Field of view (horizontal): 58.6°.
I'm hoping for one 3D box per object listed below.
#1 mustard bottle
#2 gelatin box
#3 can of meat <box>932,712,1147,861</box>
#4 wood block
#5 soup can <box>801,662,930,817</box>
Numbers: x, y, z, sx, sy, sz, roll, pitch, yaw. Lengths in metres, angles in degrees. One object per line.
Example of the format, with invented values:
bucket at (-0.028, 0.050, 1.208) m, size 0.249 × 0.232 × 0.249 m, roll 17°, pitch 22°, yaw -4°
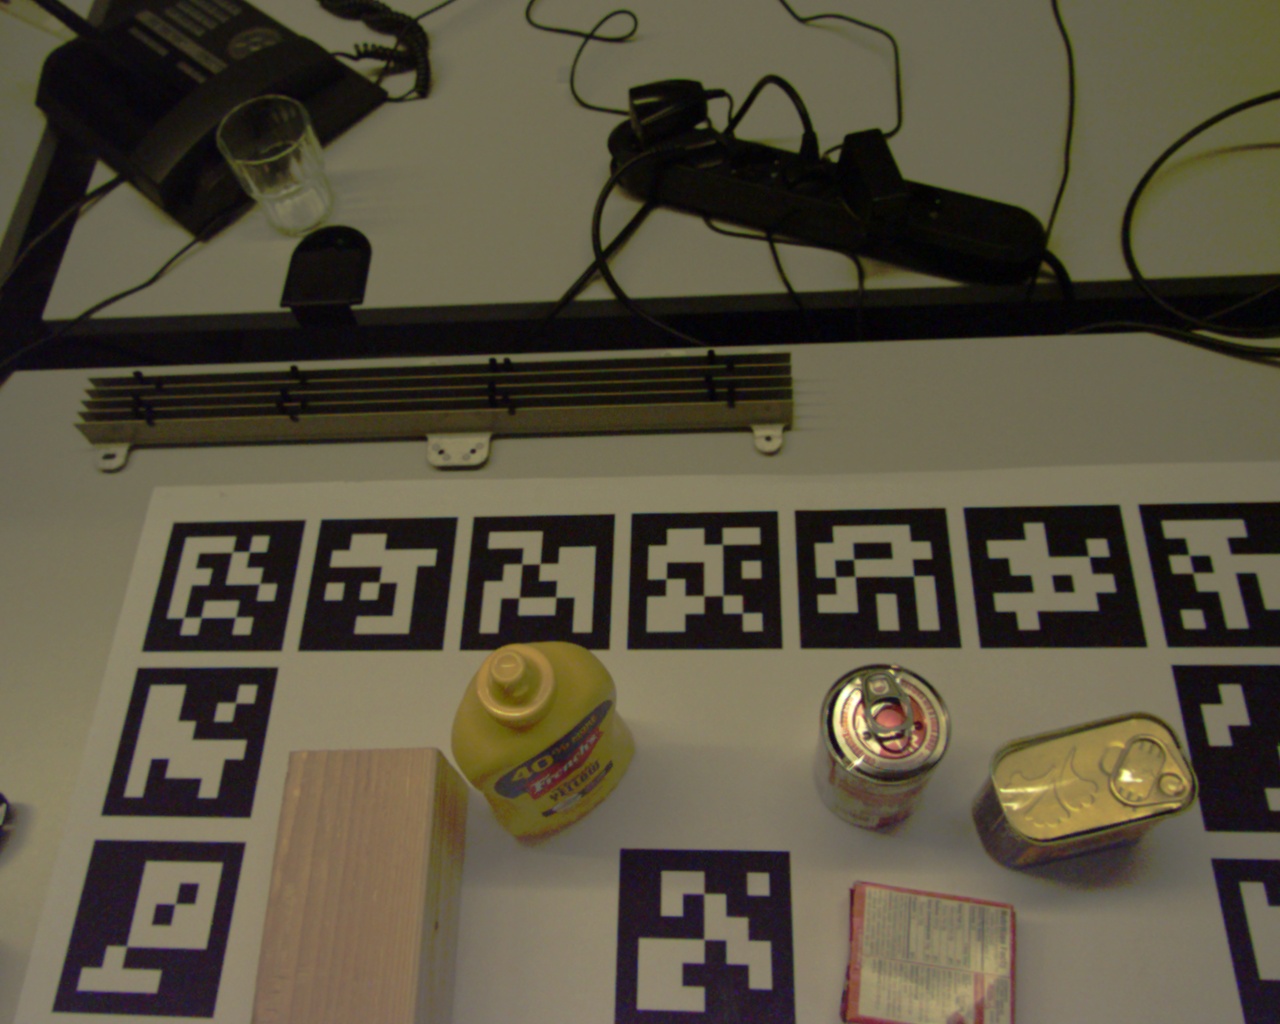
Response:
mustard bottle at (-0.067, 0.131, 0.664) m, size 0.096 × 0.190 × 0.059 m, roll -23°, pitch 62°, yaw -8°
gelatin box at (0.150, 0.258, 0.650) m, size 0.090 × 0.030 × 0.073 m, roll 7°, pitch 65°, yaw 13°
can of meat at (0.228, 0.164, 0.665) m, size 0.102 × 0.083 × 0.058 m, roll -12°, pitch 62°, yaw -3°
wood block at (-0.164, 0.248, 0.666) m, size 0.091 × 0.089 × 0.207 m, roll 0°, pitch 58°, yaw 5°
soup can at (0.129, 0.137, 0.671) m, size 0.068 × 0.101 × 0.068 m, roll -3°, pitch 64°, yaw 5°
